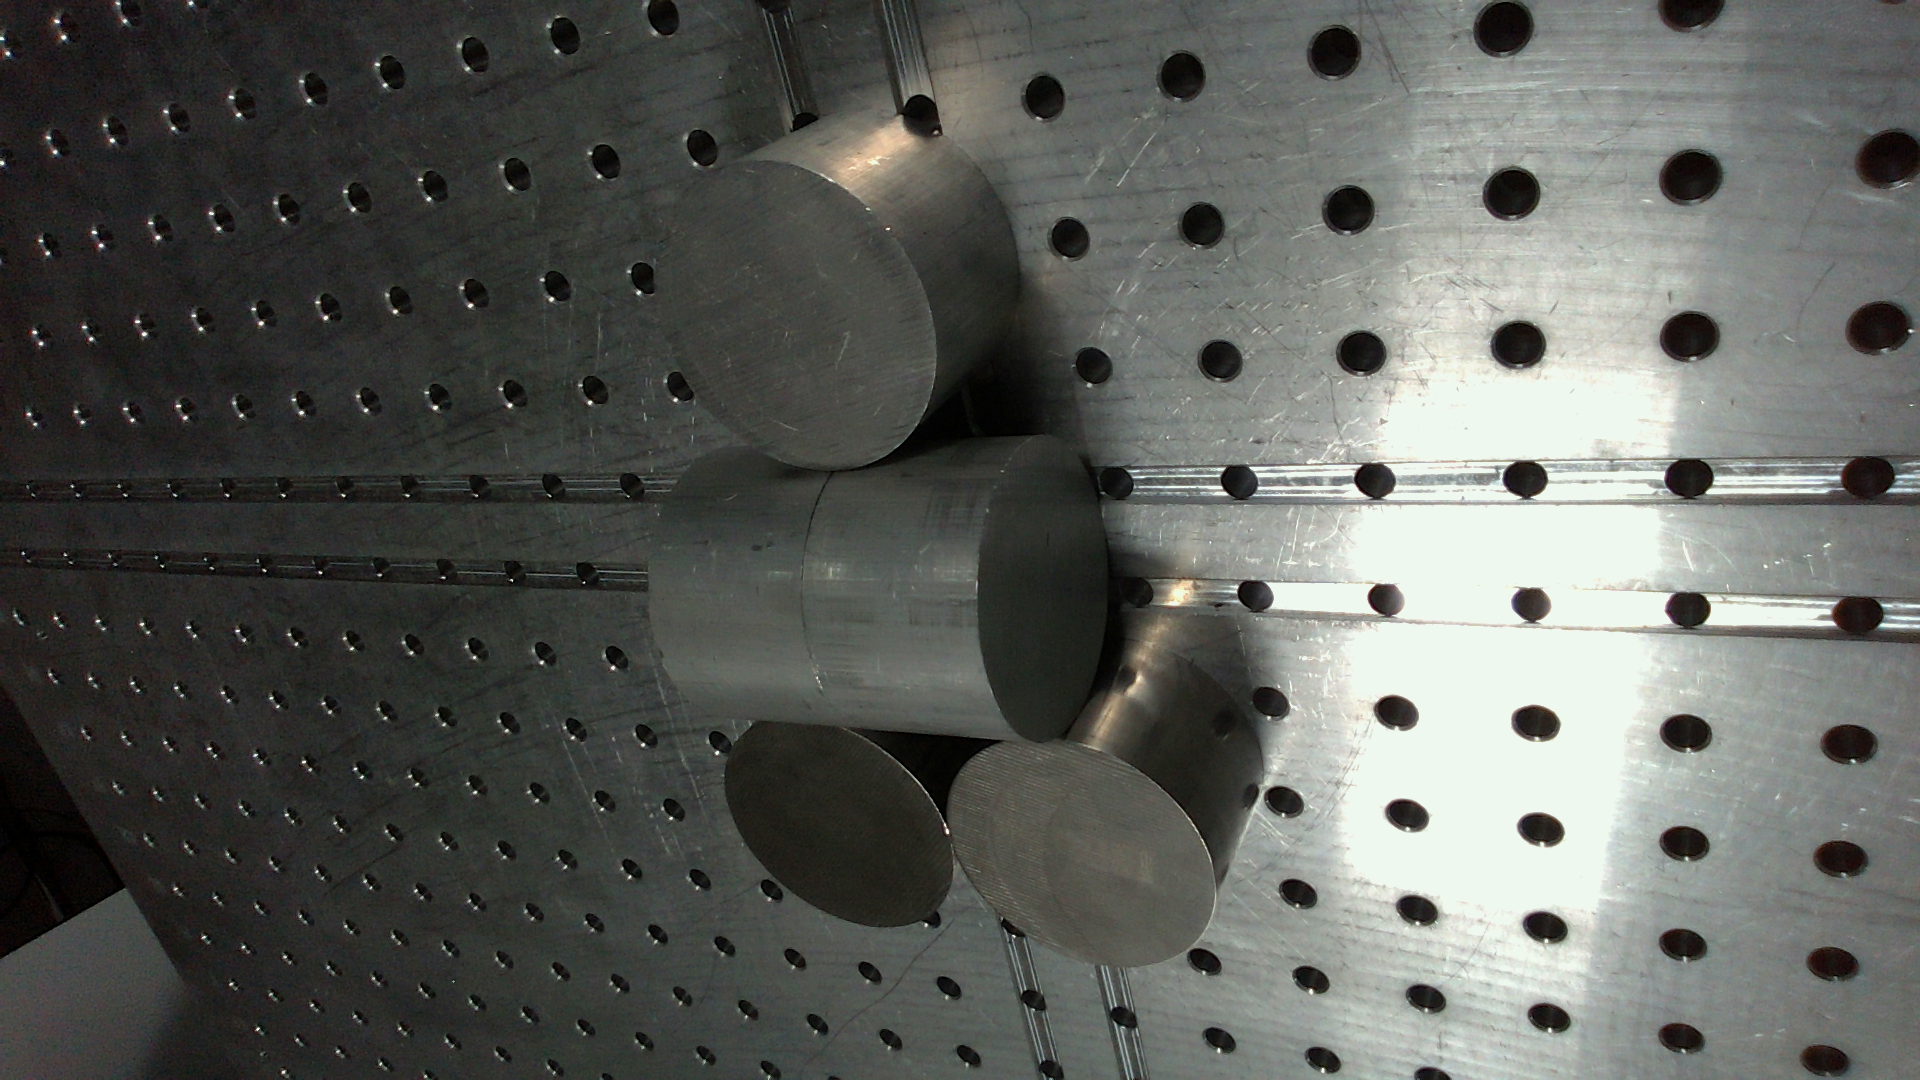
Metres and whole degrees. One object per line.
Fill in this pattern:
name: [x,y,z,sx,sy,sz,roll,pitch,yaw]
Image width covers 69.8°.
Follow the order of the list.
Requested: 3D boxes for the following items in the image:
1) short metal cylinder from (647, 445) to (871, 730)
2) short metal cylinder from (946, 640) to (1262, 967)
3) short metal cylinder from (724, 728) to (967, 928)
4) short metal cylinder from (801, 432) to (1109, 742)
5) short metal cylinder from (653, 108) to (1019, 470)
short metal cylinder: [-0.043,0.012,0.391,0.050,0.080,0.080,0,119,28]
short metal cylinder: [0.043,0.076,0.402,0.080,0.050,0.080,13,124,21]
short metal cylinder: [-0.028,0.076,0.440,0.080,0.050,0.080,13,124,21]
short metal cylinder: [0.001,0.012,0.368,0.050,0.080,0.080,0,119,28]
short metal cylinder: [-0.031,-0.065,0.356,0.080,0.050,0.080,13,124,21]
